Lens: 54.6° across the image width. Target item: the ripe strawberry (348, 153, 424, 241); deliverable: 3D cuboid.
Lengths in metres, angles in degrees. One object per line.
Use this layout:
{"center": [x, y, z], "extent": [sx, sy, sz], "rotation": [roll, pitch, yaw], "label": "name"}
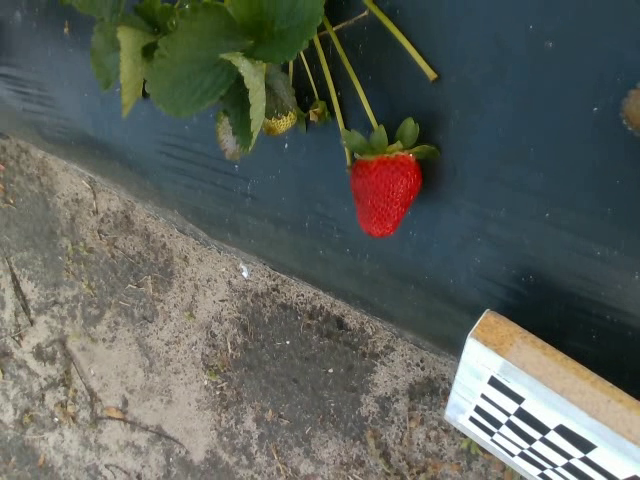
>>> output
{"center": [0.035, -0.025, 0.334], "extent": [0.042, 0.055, 0.045], "rotation": [17, -4, -22], "label": "ripe strawberry"}
